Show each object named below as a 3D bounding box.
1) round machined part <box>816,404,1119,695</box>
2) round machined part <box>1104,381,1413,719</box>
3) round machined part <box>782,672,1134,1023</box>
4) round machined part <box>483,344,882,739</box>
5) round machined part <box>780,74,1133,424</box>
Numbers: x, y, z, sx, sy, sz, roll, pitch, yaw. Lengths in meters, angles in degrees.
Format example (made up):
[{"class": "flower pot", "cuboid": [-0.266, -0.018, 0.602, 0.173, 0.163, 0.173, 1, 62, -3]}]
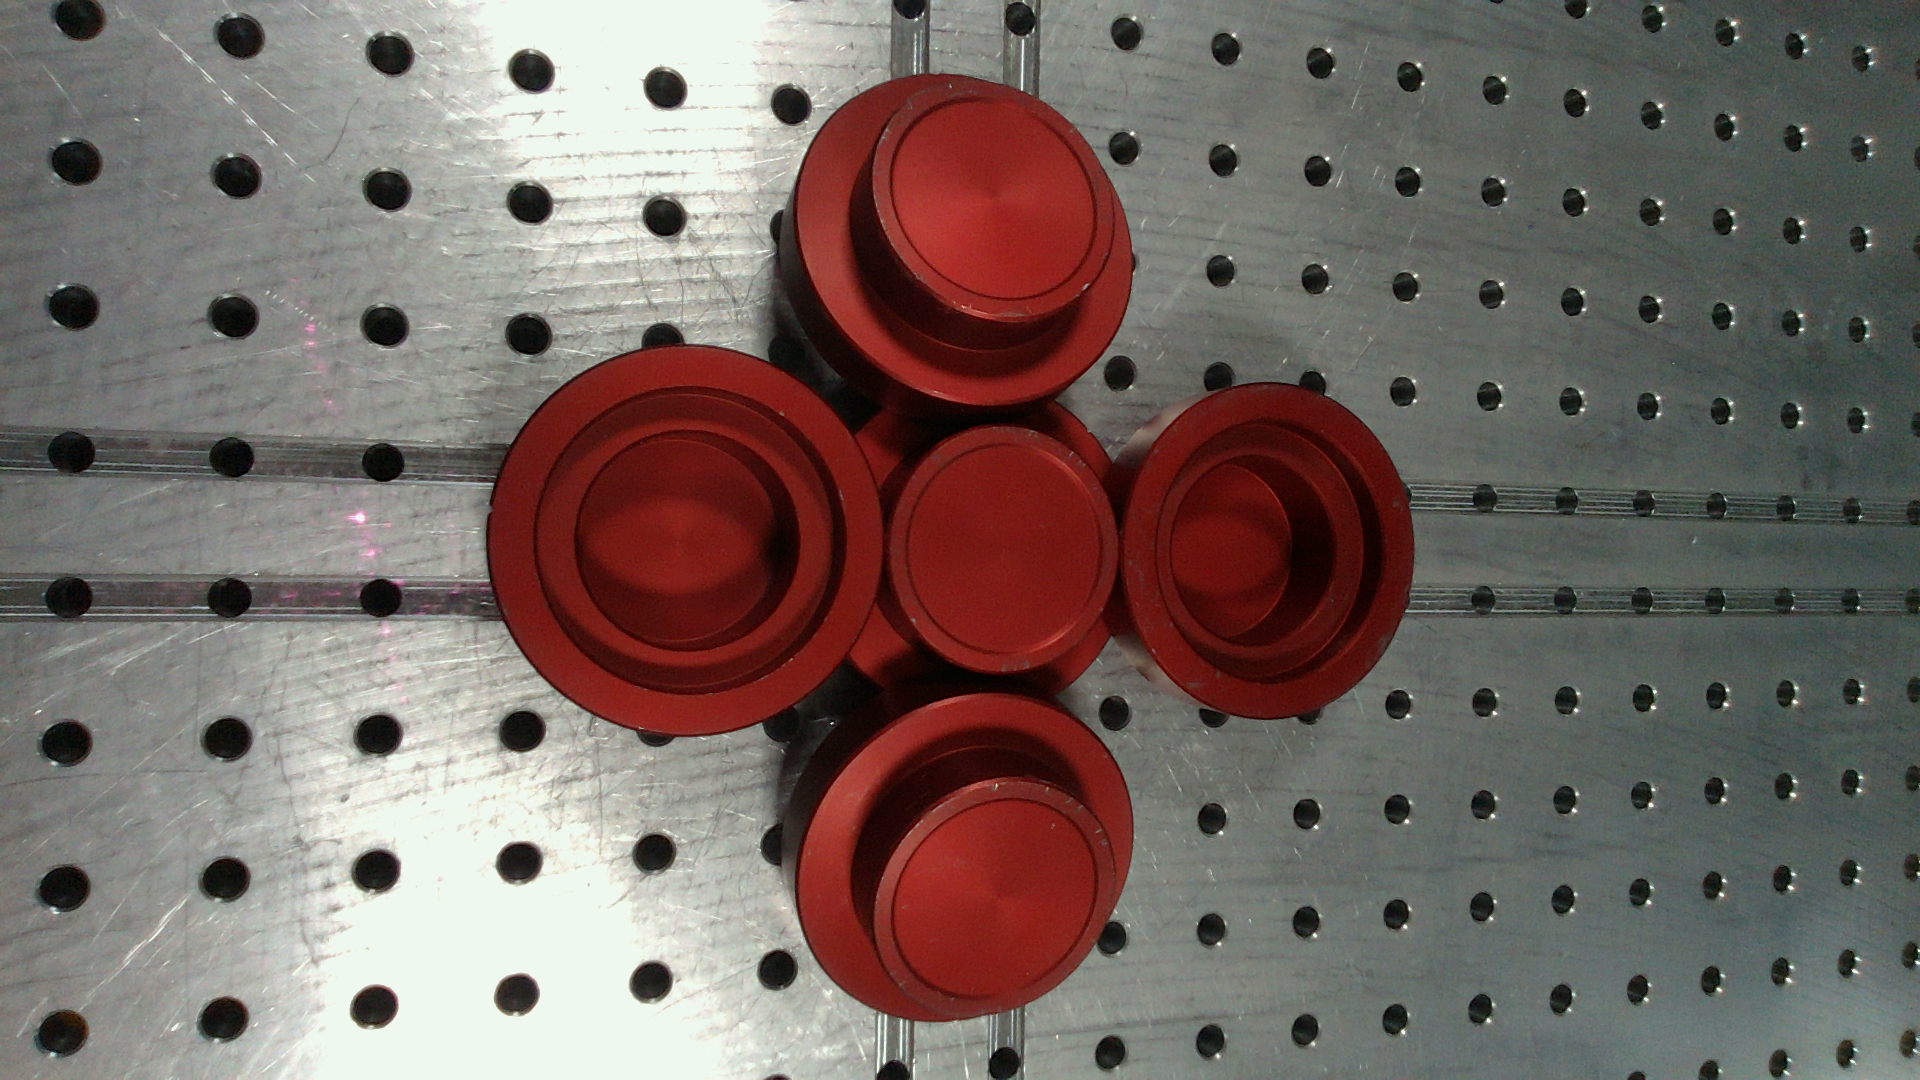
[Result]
[{"class": "round machined part", "cuboid": [0.005, 0.002, 0.388, 0.098, 0.042, 0.098, 0, 90, -20]}, {"class": "round machined part", "cuboid": [0.084, 0.003, 0.417, 0.098, 0.042, 0.098, 0, 90, -20]}, {"class": "round machined part", "cuboid": [0.004, 0.089, 0.376, 0.098, 0.042, 0.098, -5, 106, -18]}, {"class": "round machined part", "cuboid": [-0.073, 0.000, 0.360, 0.098, 0.042, 0.098, 0, 90, -20]}, {"class": "round machined part", "cuboid": [0.003, -0.084, 0.376, 0.098, 0.042, 0.098, 5, 74, -17]}]
